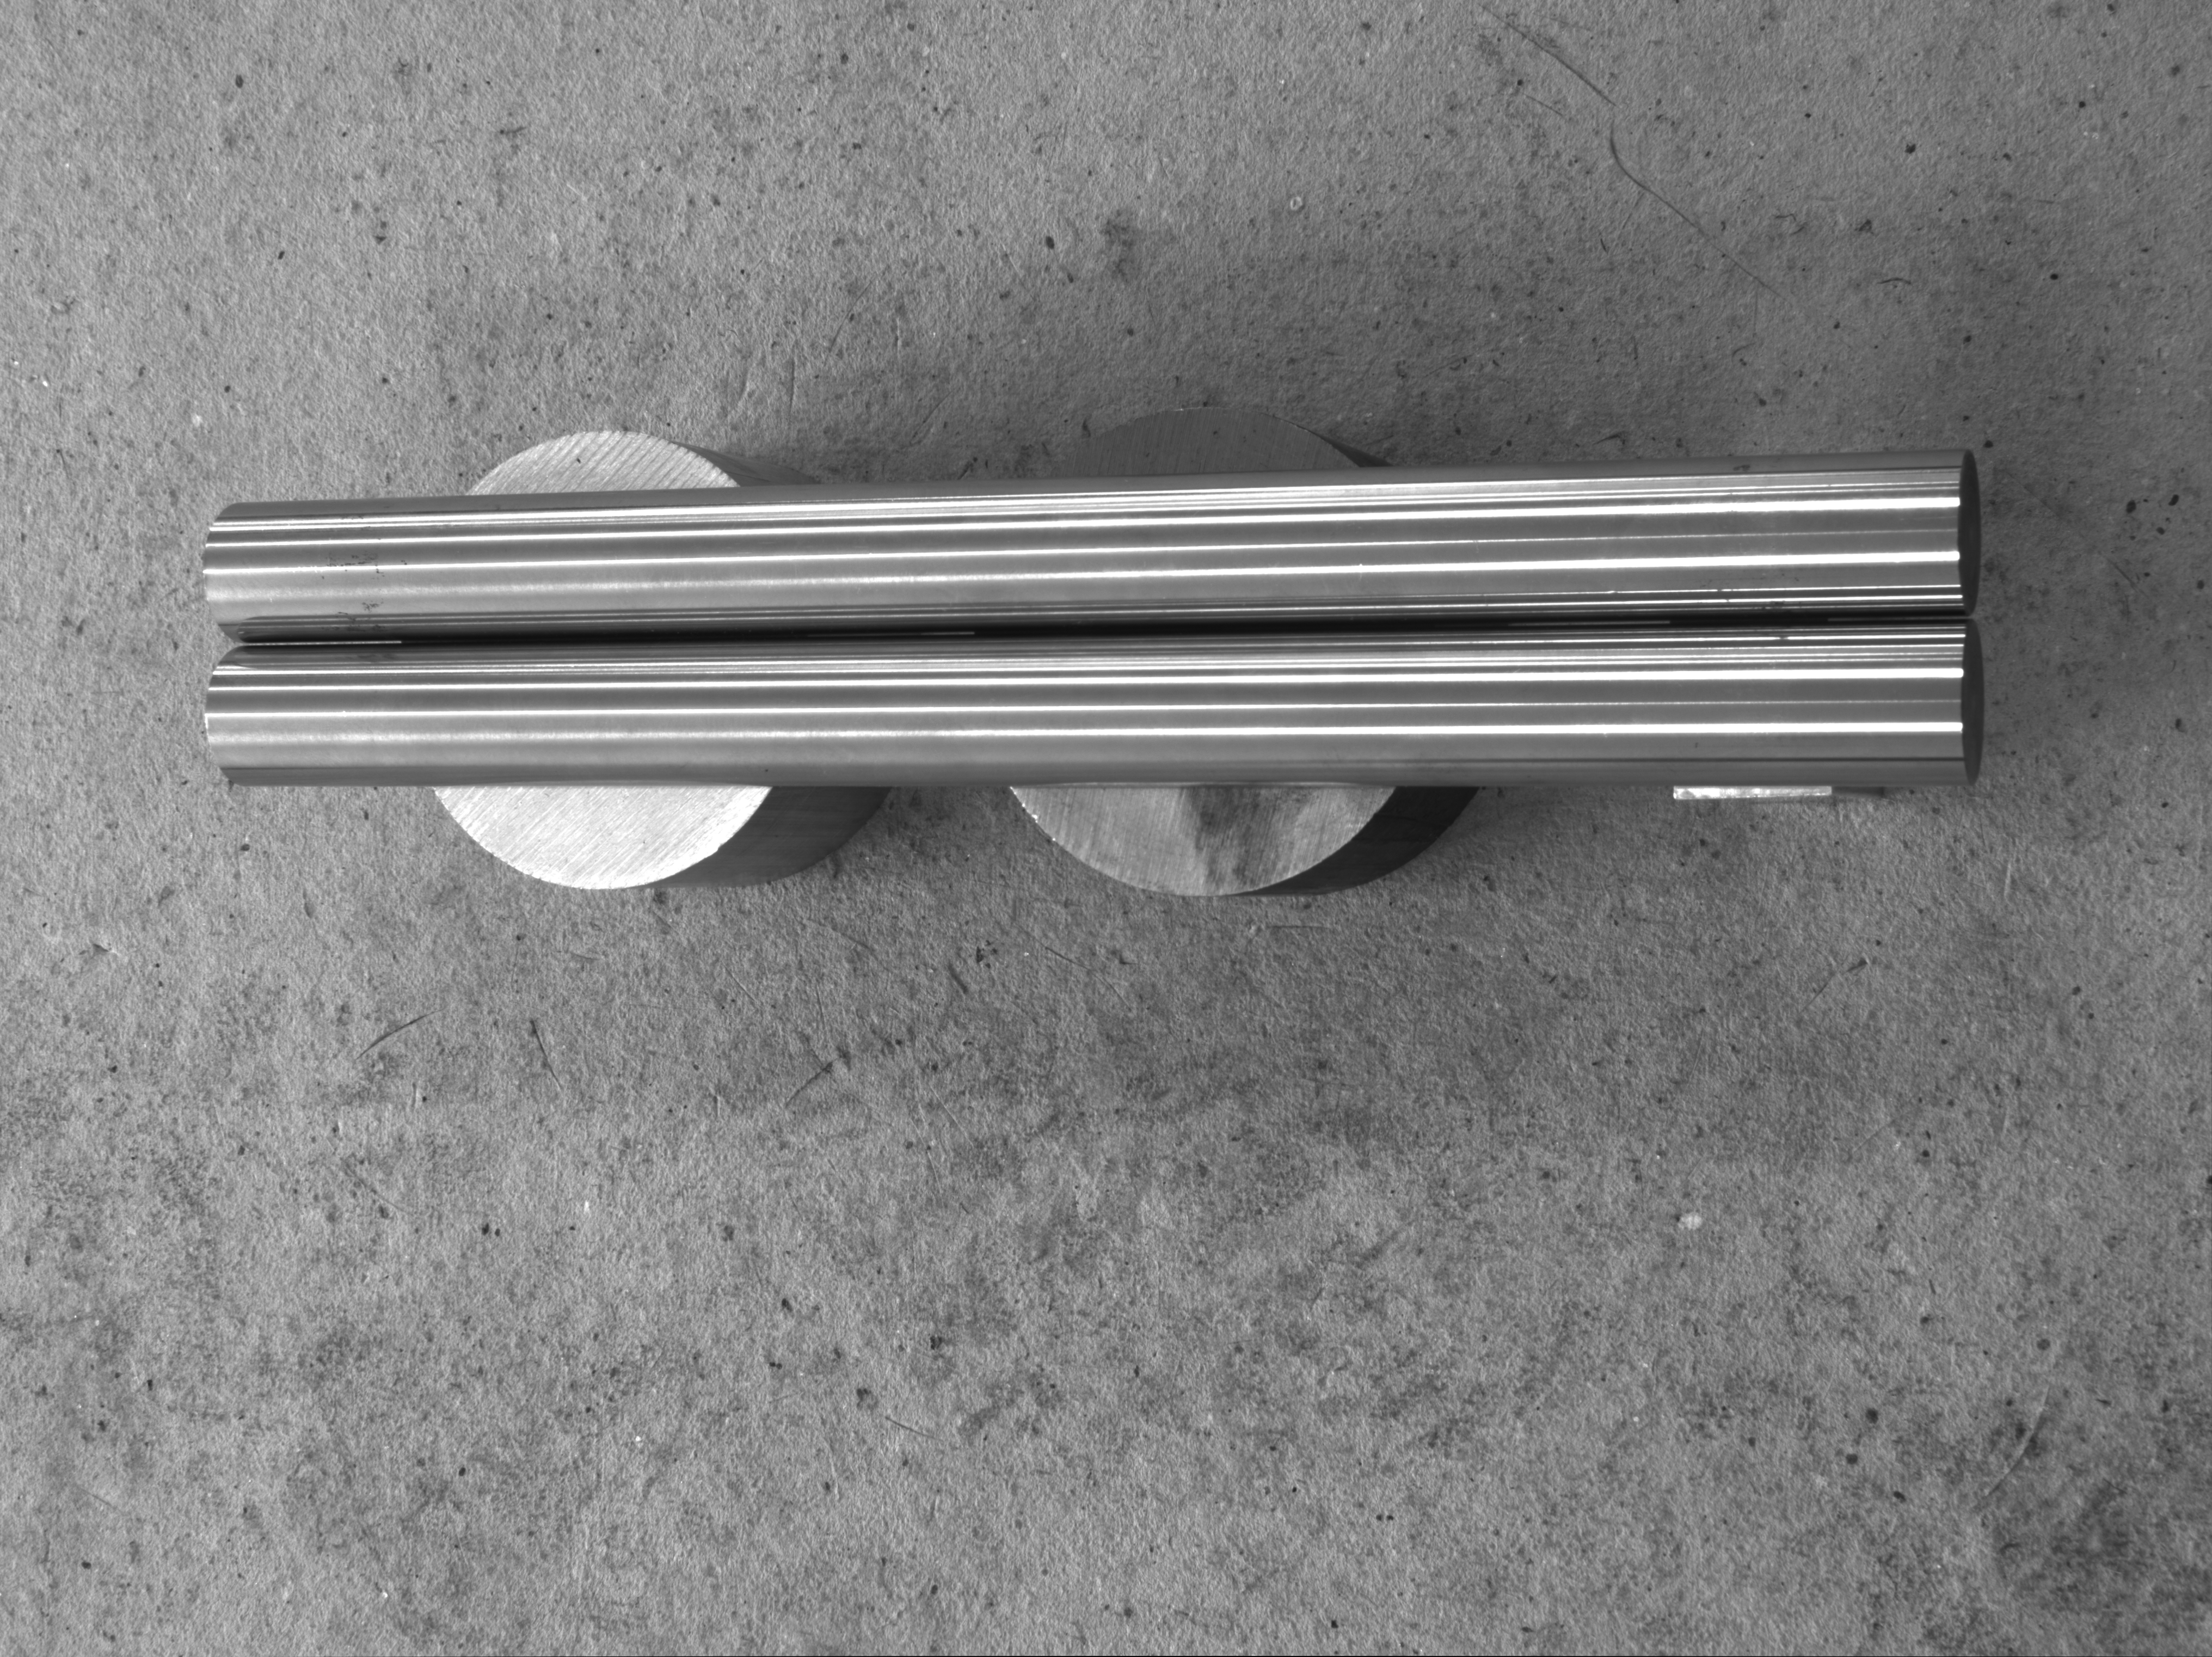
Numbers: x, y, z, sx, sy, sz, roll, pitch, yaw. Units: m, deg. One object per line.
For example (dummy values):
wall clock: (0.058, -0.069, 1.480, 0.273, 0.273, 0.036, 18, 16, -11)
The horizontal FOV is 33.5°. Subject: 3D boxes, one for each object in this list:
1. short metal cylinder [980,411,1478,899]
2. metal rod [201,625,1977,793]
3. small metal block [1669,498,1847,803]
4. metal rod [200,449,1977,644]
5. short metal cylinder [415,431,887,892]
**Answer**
short metal cylinder: (0.024, -0.028, 0.626, 0.080, 0.050, 0.080, 0, 90, 20)
metal rod: (-0.012, -0.018, 0.597, 0.299, 0.025, 0.025, 0, 90, 20)
small metal block: (0.109, -0.030, 0.595, 0.025, 0.050, 0.050, -2, 89, 20)
metal rod: (-0.012, -0.044, 0.598, 0.299, 0.025, 0.025, 0, 90, 20)
short metal cylinder: (-0.080, -0.029, 0.662, 0.080, 0.050, 0.080, 0, 90, 20)
